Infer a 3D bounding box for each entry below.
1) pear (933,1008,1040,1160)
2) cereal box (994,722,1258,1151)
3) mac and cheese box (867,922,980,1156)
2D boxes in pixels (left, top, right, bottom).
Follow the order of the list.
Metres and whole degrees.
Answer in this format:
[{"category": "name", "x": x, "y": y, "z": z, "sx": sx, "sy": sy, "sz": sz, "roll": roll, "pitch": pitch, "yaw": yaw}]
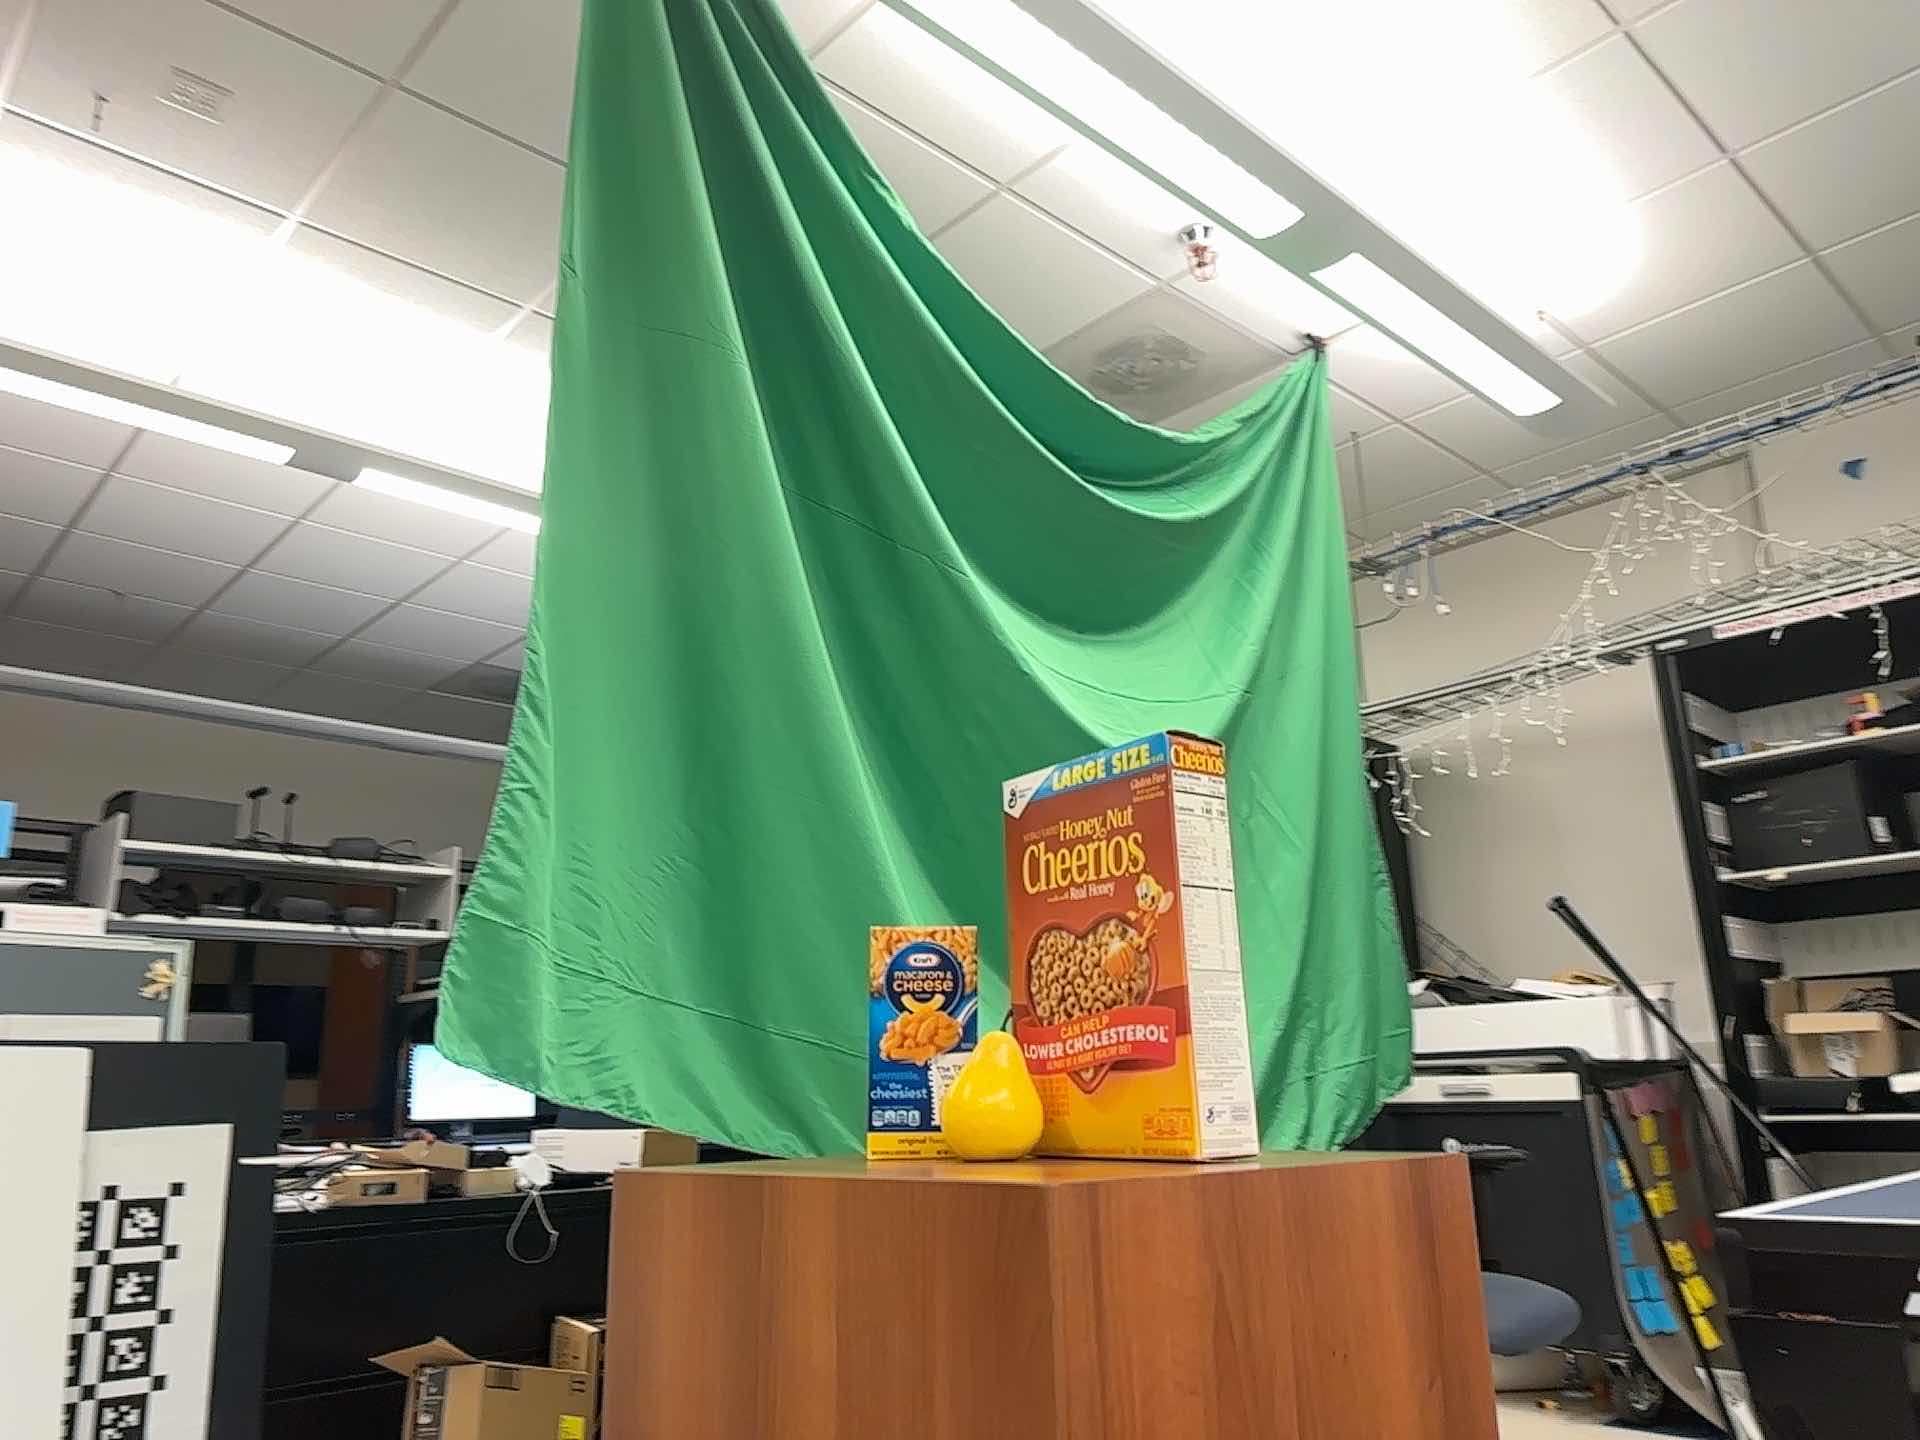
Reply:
[{"category": "pear", "x": 0.021, "y": 0.272, "z": 1.014, "sx": 0.080, "sy": 0.111, "sz": 0.080, "roll": 3, "pitch": -15, "yaw": 1}, {"category": "cereal box", "x": 0.118, "y": 0.172, "z": 1.043, "sx": 0.065, "sy": 0.297, "sz": 0.195, "roll": 8, "pitch": -17, "yaw": -36}, {"category": "mac and cheese box", "x": -0.030, "y": 0.260, "z": 1.106, "sx": 0.088, "sy": 0.181, "sz": 0.035, "roll": -2, "pitch": -14, "yaw": 3}]
